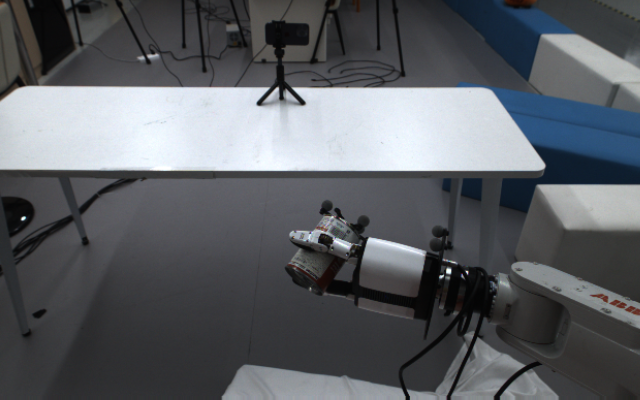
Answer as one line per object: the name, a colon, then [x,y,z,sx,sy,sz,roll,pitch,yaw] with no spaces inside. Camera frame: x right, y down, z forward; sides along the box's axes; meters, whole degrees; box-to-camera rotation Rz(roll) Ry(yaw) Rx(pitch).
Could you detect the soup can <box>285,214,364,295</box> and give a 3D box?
soup can: [0.005,0.080,0.712,0.067,0.067,0.101,25,67,30]
